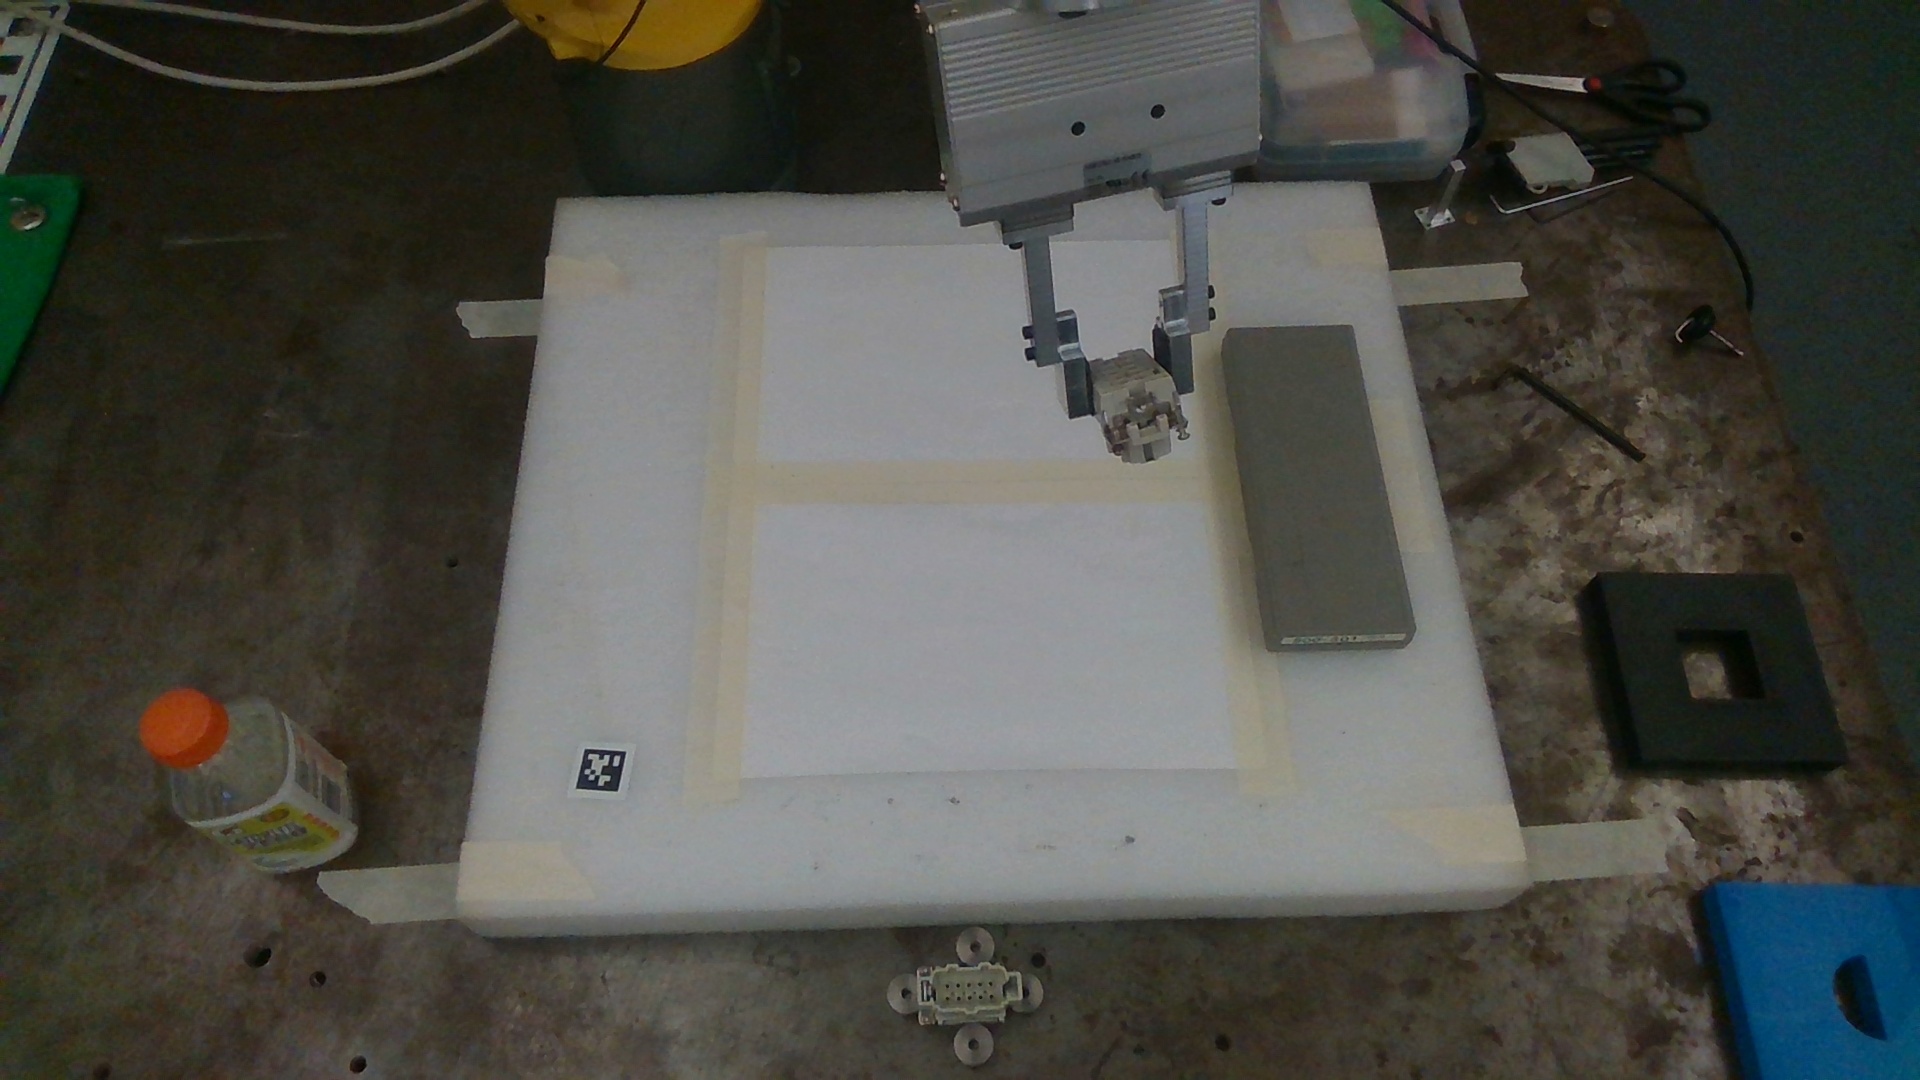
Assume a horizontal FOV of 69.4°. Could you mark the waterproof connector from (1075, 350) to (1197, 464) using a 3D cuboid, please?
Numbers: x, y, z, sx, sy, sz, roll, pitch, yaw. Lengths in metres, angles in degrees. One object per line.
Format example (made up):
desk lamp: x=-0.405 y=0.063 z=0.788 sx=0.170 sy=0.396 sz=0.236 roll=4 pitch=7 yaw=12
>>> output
waterproof connector: x=0.075 y=-0.058 z=0.604 sx=0.036 sy=0.038 sz=0.069 roll=-14 pitch=20 yaw=-7
